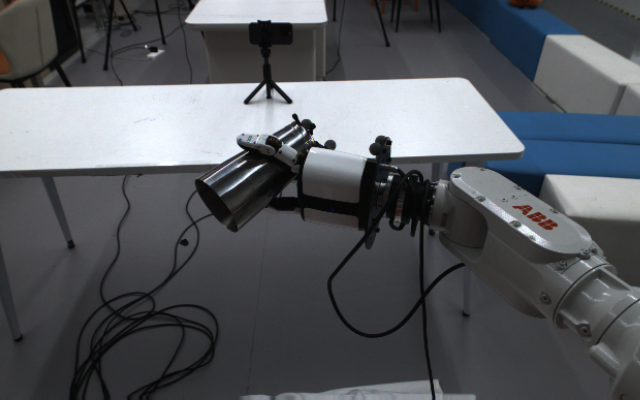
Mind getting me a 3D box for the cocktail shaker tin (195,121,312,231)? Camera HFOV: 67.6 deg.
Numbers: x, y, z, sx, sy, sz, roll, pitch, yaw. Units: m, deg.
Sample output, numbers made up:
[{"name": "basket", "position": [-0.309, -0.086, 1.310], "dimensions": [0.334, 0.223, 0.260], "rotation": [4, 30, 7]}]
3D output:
[{"name": "cocktail shaker tin", "position": [-0.085, -0.045, 0.705], "dimensions": [0.170, 0.093, 0.093], "rotation": [-38, 50, -24]}]
